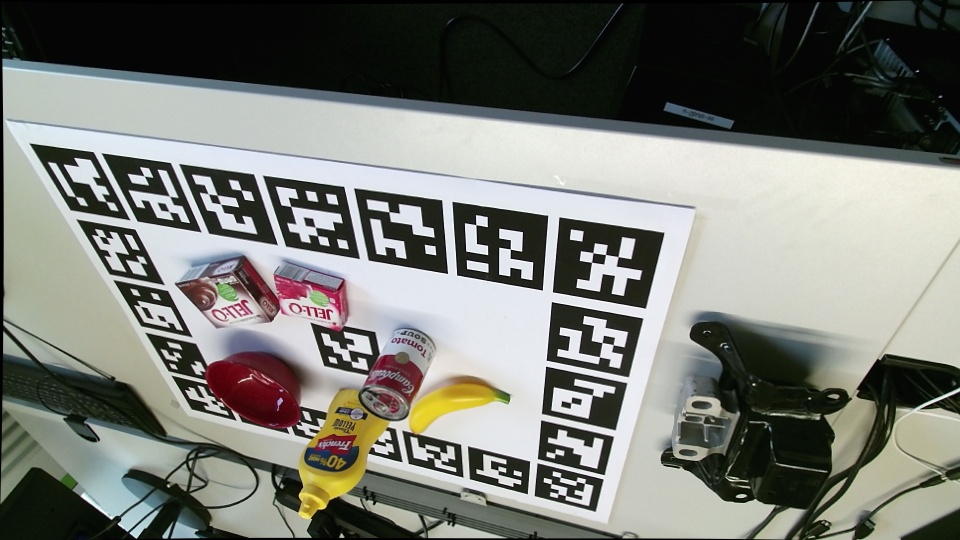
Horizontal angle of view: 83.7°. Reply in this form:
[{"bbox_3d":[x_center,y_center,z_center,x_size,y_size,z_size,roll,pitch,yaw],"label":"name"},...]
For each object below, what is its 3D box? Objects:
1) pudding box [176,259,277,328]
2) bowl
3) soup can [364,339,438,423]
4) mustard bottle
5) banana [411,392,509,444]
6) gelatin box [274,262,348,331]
[{"bbox_3d":[-0.351,0.038,0.740,0.114,0.038,0.090,-11,118,27],"label":"pudding box"},{"bbox_3d":[-0.357,0.186,0.858,0.162,0.055,0.162,9,131,11],"label":"bowl"},{"bbox_3d":[-0.101,0.147,0.687,0.068,0.102,0.068,12,133,13],"label":"soup can"},{"bbox_3d":[-0.215,0.277,0.772,0.096,0.191,0.058,10,133,13],"label":"mustard bottle"},{"bbox_3d":[-0.049,0.216,0.780,0.074,0.038,0.197,35,132,-23],"label":"banana"},{"bbox_3d":[-0.218,0.036,0.696,0.089,0.030,0.073,15,128,7],"label":"gelatin box"}]
